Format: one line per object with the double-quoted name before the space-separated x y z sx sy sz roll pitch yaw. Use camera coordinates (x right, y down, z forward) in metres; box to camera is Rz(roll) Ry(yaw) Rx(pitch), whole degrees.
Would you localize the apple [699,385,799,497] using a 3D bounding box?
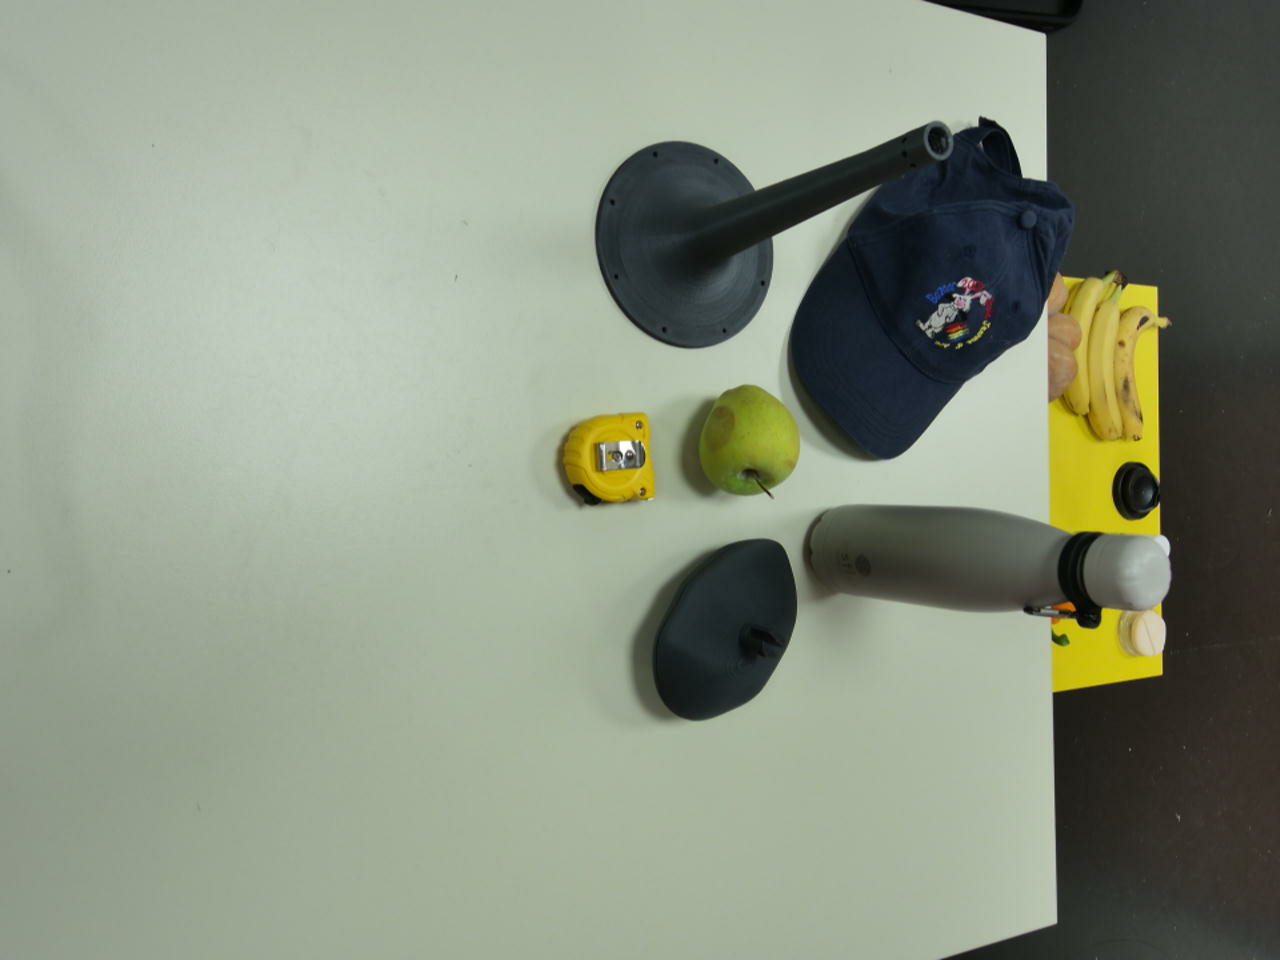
"apple" 0.079 -0.027 0.714 0.072 0.075 0.077 48 70 -20
